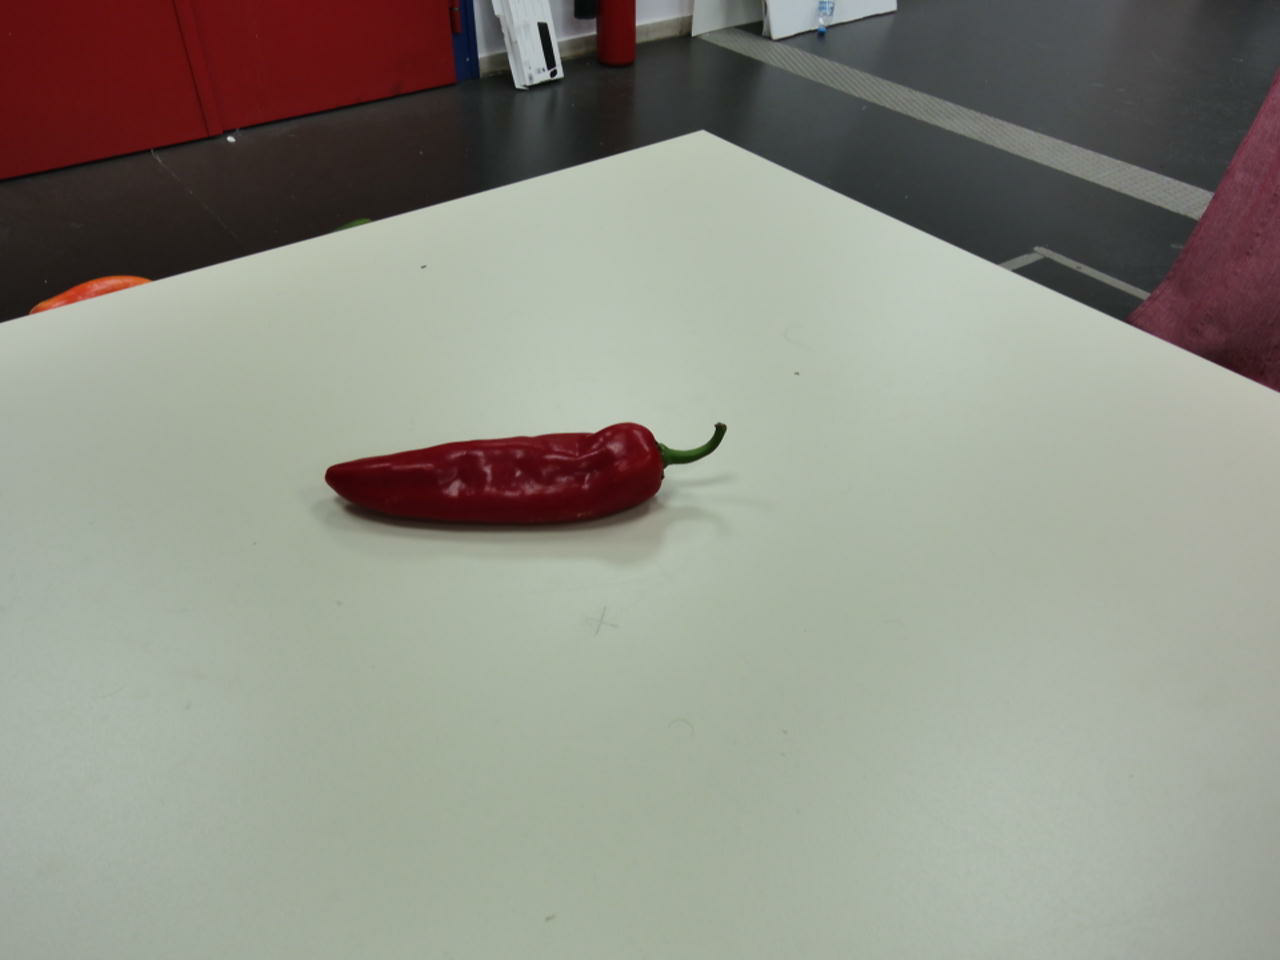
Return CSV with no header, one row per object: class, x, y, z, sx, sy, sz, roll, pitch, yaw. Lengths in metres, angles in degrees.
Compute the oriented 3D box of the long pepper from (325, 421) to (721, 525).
long pepper,-0.060,-0.004,0.526,0.211,0.043,0.050,-4,38,-5
